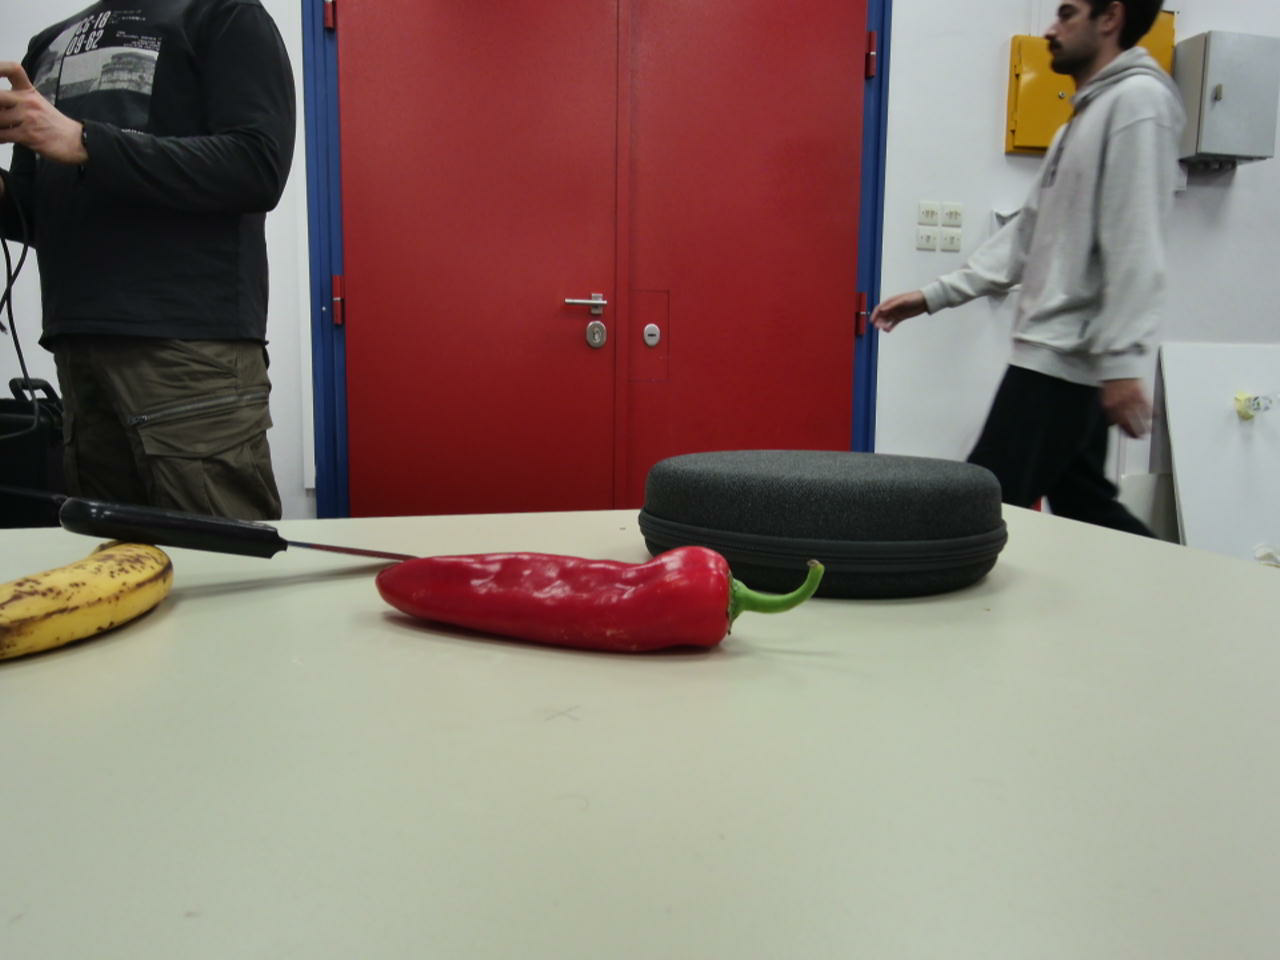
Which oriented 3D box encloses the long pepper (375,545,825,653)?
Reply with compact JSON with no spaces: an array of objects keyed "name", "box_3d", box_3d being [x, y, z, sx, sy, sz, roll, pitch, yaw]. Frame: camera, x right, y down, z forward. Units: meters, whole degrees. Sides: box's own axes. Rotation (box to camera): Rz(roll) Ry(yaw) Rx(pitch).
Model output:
[{"name":"long pepper","box_3d":[-0.028,0.049,0.436,0.211,0.043,0.050,1,4,19]}]
